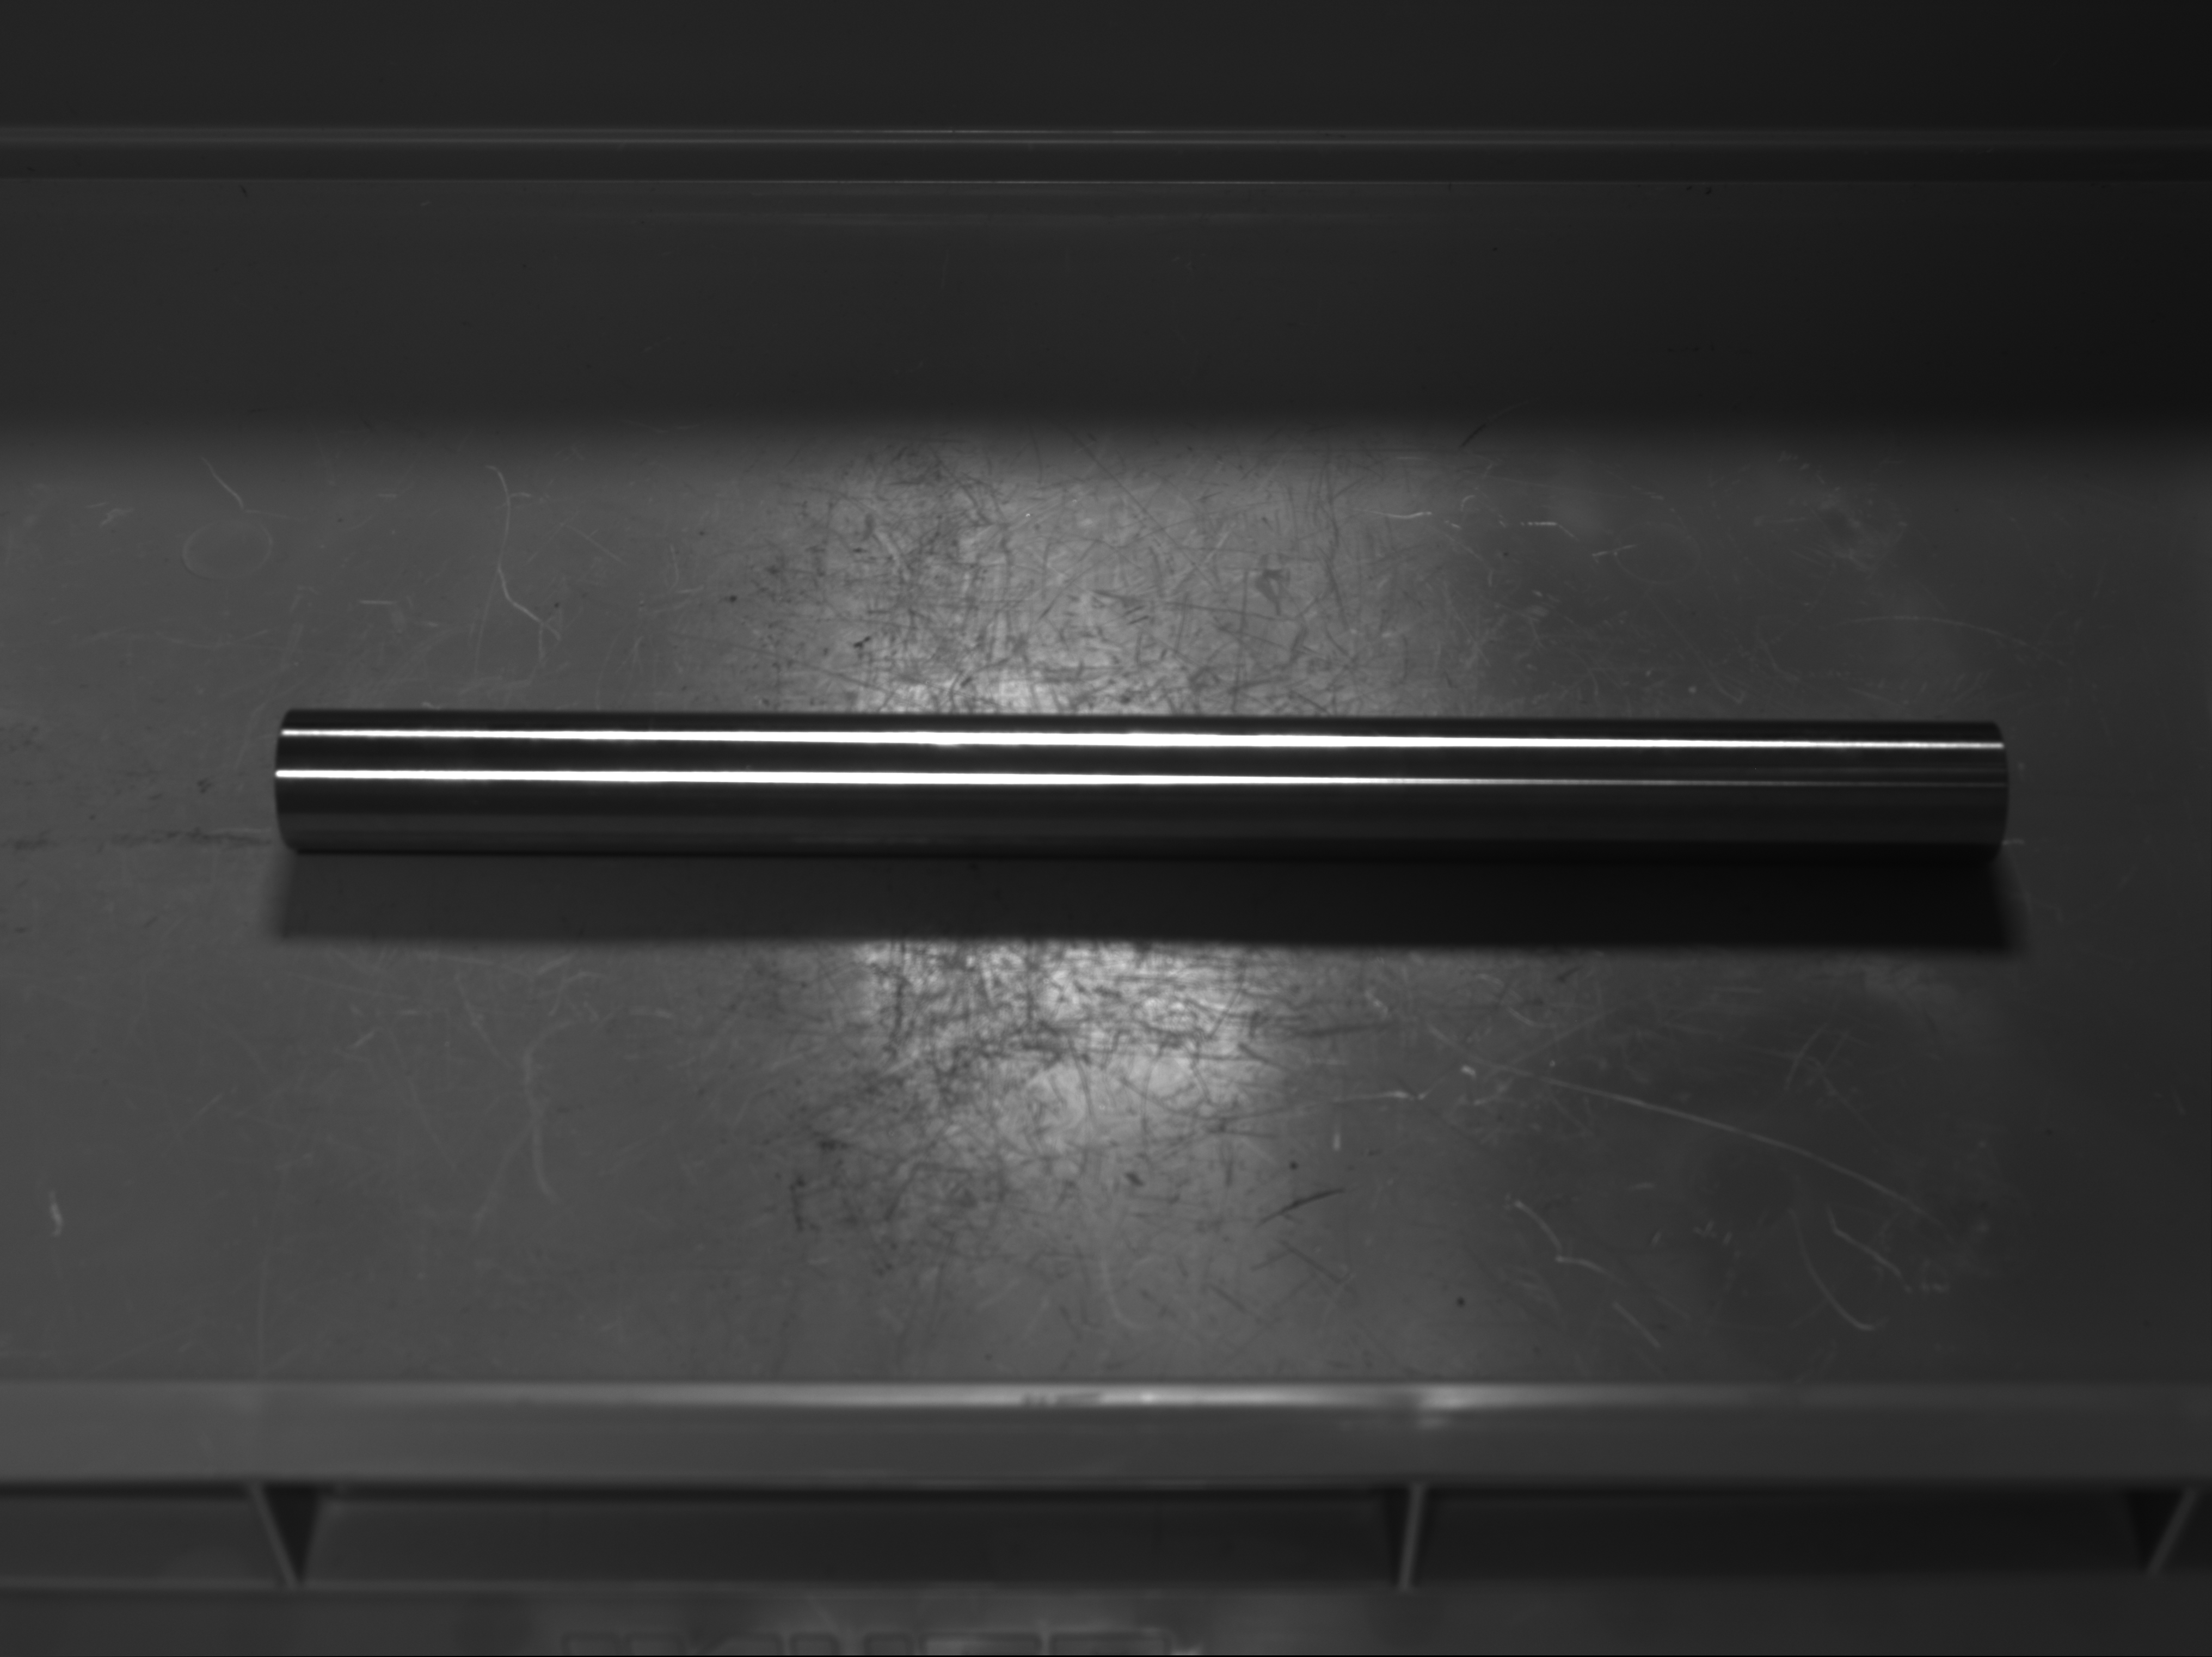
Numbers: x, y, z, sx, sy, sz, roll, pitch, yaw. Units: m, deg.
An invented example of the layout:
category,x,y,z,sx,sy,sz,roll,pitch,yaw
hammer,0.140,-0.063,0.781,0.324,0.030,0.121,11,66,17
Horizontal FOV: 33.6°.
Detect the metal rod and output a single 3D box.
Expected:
category,x,y,z,sx,sy,sz,roll,pitch,yaw
metal rod,0.009,-0.007,0.646,0.300,0.025,0.025,0,50,0
